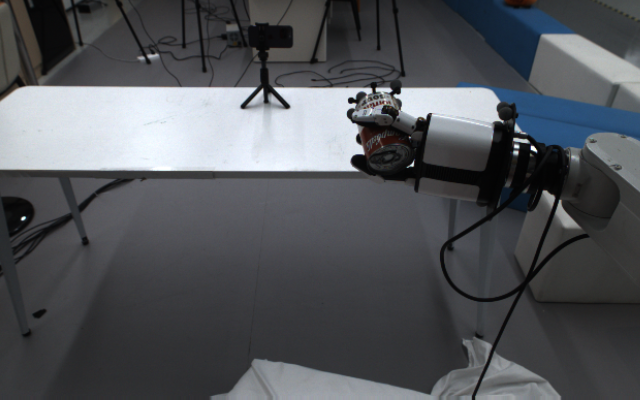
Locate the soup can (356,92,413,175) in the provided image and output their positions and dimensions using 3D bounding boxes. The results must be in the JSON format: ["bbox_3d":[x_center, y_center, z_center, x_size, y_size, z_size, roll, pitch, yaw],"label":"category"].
[{"bbox_3d":[0.091,-0.096,0.694,0.067,0.067,0.101,-5,57,-10],"label":"soup can"}]
